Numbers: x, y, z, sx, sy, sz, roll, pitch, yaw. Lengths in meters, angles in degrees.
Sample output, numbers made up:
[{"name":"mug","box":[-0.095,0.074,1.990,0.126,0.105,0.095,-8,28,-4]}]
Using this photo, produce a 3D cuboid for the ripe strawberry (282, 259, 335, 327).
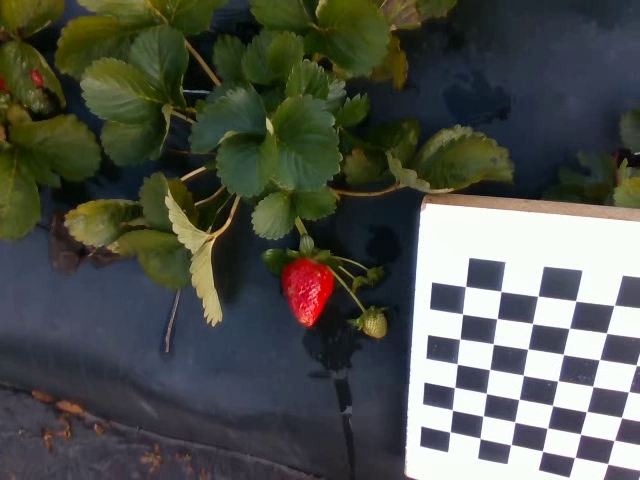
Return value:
[{"name":"ripe strawberry","box":[-0.009,0.046,0.482,0.043,0.057,0.052,-16,-40,31]}]
